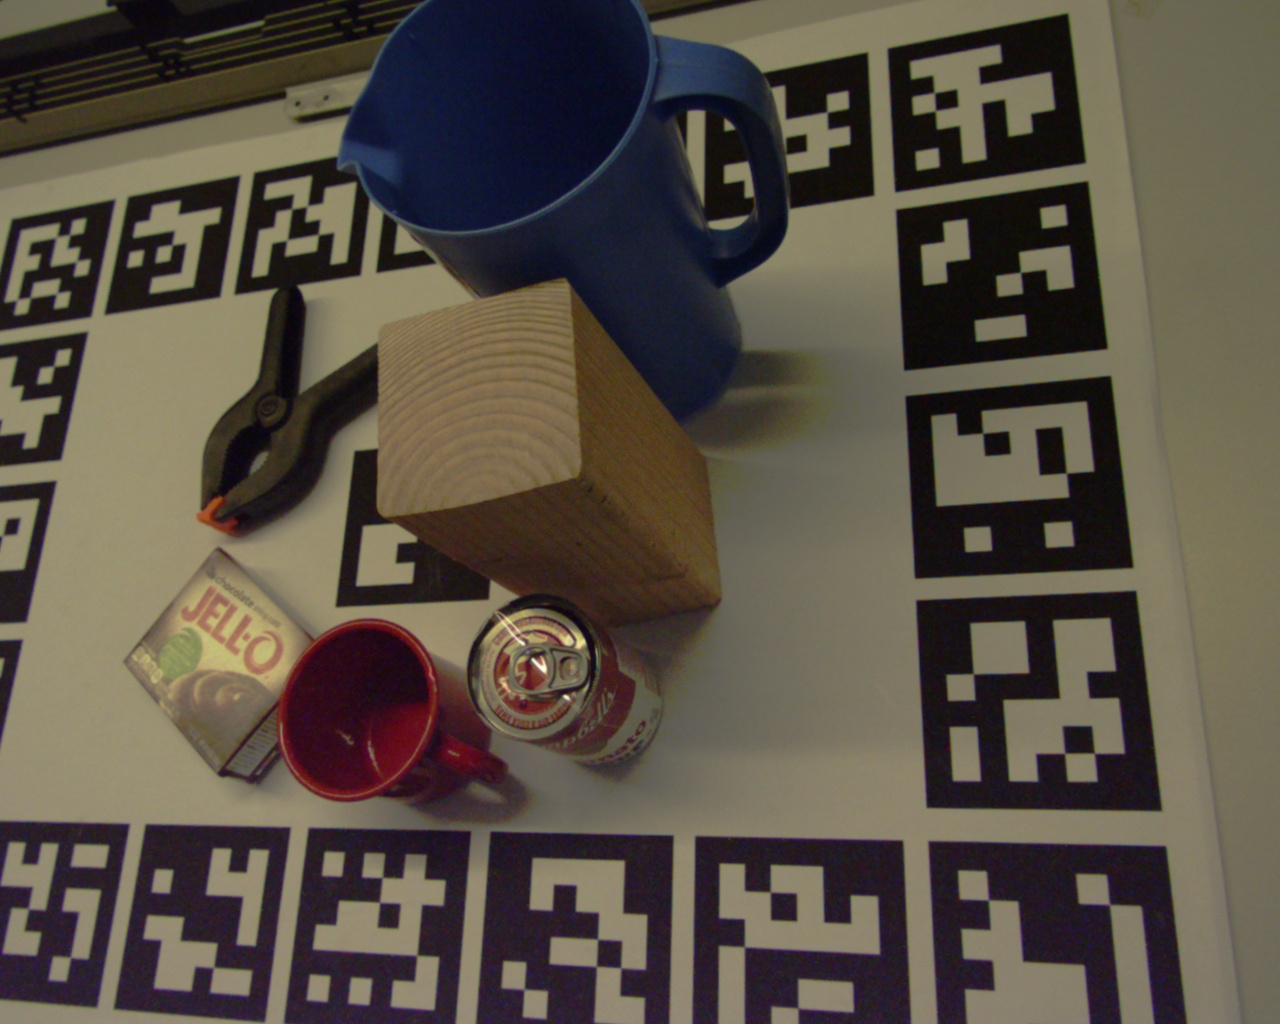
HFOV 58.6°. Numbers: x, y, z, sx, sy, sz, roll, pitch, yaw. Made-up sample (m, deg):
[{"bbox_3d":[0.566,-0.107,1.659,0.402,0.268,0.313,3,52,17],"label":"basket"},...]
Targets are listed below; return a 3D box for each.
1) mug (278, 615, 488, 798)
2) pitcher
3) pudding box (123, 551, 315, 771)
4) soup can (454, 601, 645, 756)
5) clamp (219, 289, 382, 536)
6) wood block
[{"bbox_3d":[-0.129,0.119,0.628,0.118,0.080,0.093,33,82,28],"label":"mug"},{"bbox_3d":[-0.019,-0.135,0.592,0.190,0.240,0.133,-6,67,20],"label":"pitcher"},{"bbox_3d":[-0.256,0.093,0.711,0.115,0.038,0.090,35,89,28],"label":"pudding box"},{"bbox_3d":[-0.044,0.090,0.595,0.068,0.101,0.068,-6,72,18],"label":"soup can"},{"bbox_3d":[-0.229,-0.059,0.762,0.123,0.036,0.165,27,82,19],"label":"clamp"},{"bbox_3d":[-0.041,-0.013,0.573,0.090,0.204,0.091,-6,69,13],"label":"wood block"}]
